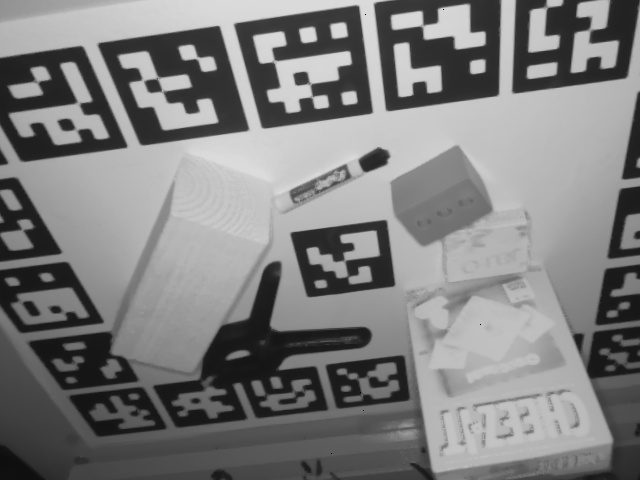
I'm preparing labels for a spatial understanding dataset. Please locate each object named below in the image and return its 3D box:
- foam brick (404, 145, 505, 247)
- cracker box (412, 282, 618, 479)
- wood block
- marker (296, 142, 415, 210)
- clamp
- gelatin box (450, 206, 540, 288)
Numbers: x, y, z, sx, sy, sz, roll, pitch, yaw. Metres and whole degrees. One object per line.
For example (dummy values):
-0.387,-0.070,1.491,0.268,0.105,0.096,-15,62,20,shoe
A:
0.127,-0.041,0.658,0.077,0.052,0.053,-29,122,18,foam brick
0.185,0.149,0.699,0.164,0.215,0.071,-10,129,8,cracker box
-0.115,0.031,0.682,0.090,0.091,0.203,19,127,-19,wood block
0.033,-0.061,0.656,0.120,0.020,0.019,-25,123,15,marker
-0.053,0.127,0.789,0.200,0.037,0.166,-35,121,21,clamp
0.181,0.008,0.716,0.089,0.030,0.073,-9,126,4,gelatin box
